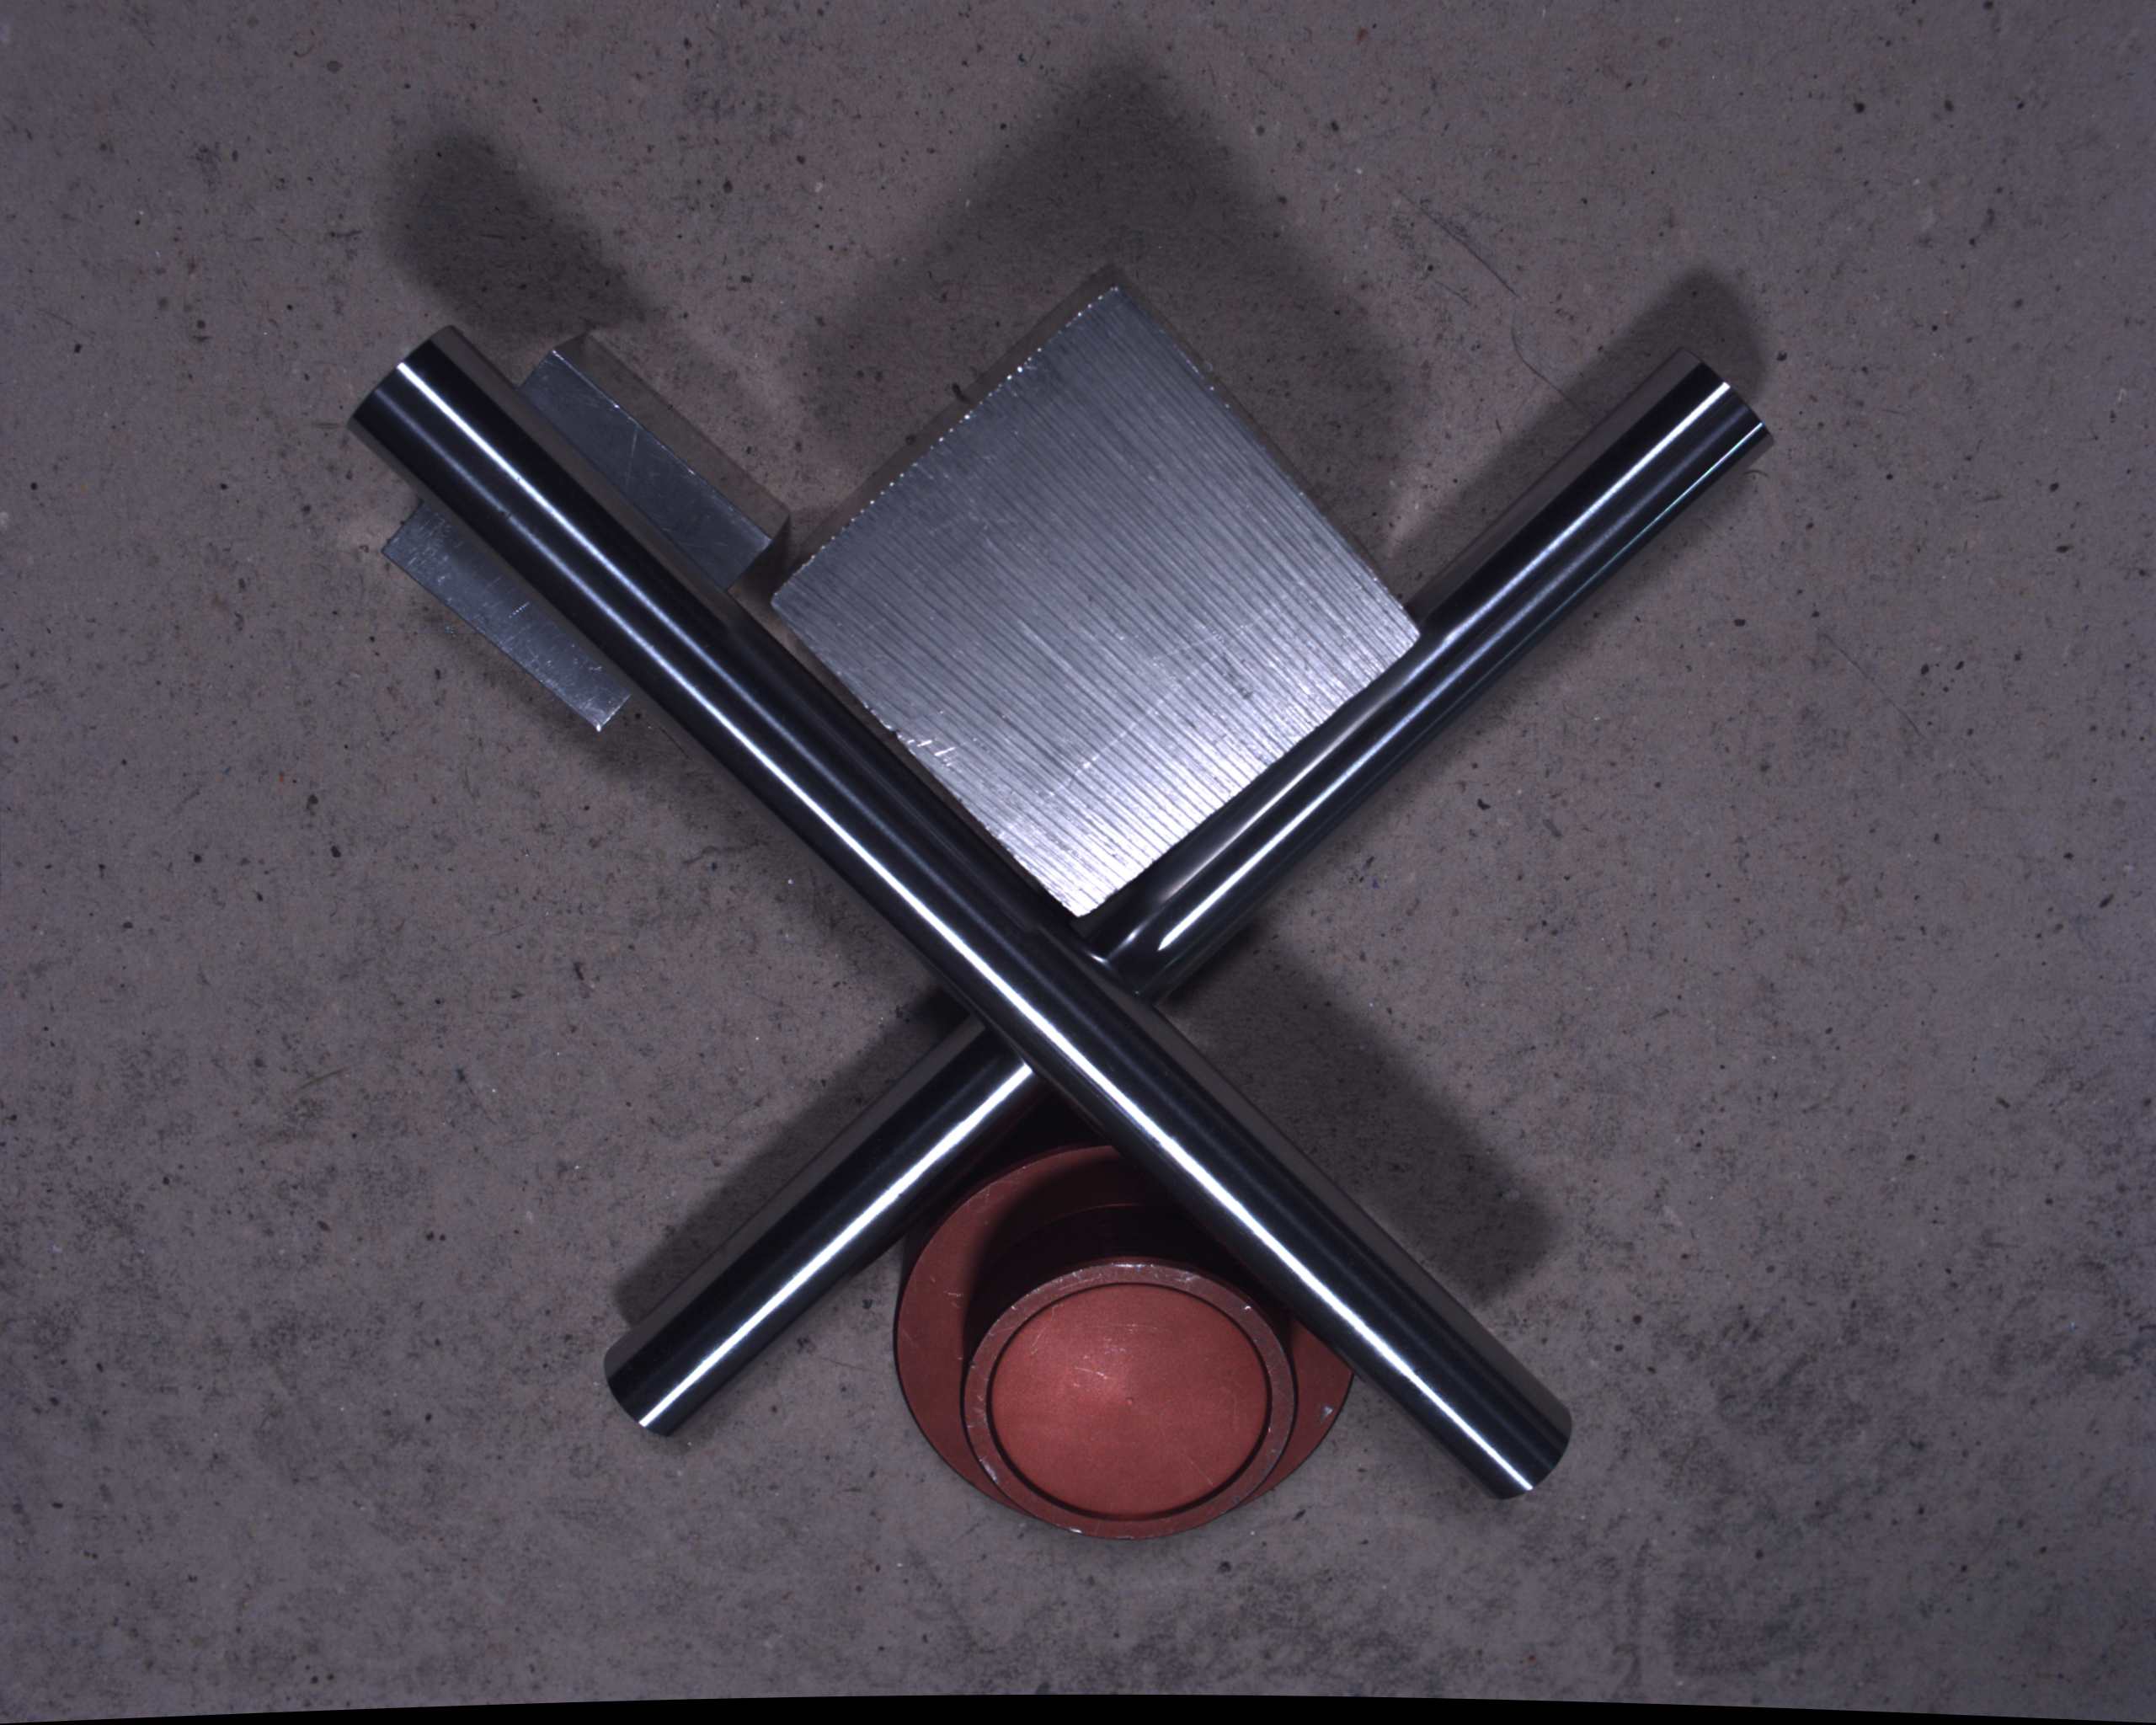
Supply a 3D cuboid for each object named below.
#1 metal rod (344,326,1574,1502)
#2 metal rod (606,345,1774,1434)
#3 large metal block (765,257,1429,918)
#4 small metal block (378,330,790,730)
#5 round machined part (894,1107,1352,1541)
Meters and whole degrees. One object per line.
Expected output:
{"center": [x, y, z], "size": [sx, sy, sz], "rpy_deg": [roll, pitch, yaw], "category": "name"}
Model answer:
{"center": [-0.011, 0.020, 0.391], "size": [0.025, 0.025, 0.300], "rpy_deg": [-42, 105, 13], "category": "metal rod"}
{"center": [0.013, 0.014, 0.418], "size": [0.025, 0.025, 0.299], "rpy_deg": [43, 104, -15], "category": "metal rod"}
{"center": [0.003, -0.051, 0.380], "size": [0.080, 0.050, 0.080], "rpy_deg": [-40, 106, 13], "category": "large metal block"}
{"center": [-0.091, -0.062, 0.388], "size": [0.050, 0.025, 0.050], "rpy_deg": [41, 105, -14], "category": "small metal block"}
{"center": [0.011, 0.102, 0.439], "size": [0.099, 0.042, 0.097], "rpy_deg": [0, 110, -1], "category": "round machined part"}
